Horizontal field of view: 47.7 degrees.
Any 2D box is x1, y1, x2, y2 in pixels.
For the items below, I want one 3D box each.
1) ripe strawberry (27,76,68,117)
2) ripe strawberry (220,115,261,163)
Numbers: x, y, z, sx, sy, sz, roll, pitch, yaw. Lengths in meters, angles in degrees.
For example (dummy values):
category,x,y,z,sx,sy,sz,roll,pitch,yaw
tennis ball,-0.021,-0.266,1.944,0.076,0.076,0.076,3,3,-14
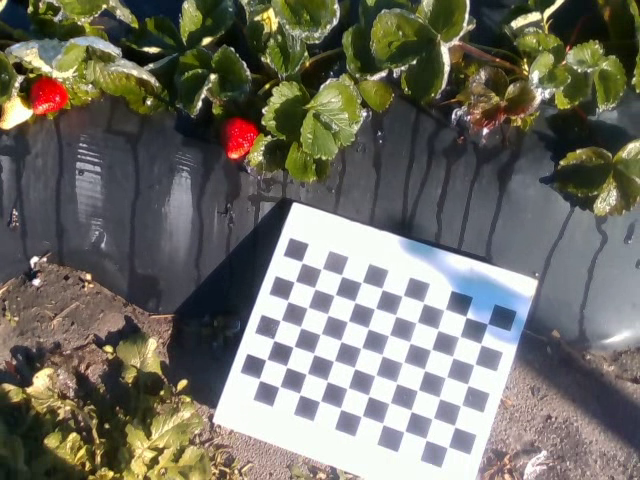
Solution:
category,x,y,z,sx,sy,sz,roll,pitch,yaw
ripe strawberry,-0.268,-0.140,0.699,0.037,0.040,0.051,5,35,5
ripe strawberry,-0.078,-0.095,0.679,0.041,0.047,0.053,13,45,6
